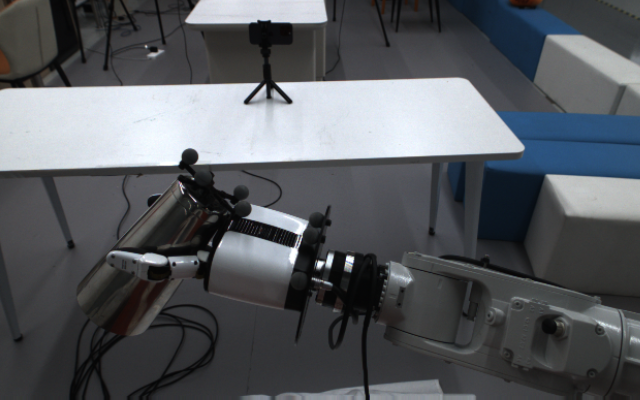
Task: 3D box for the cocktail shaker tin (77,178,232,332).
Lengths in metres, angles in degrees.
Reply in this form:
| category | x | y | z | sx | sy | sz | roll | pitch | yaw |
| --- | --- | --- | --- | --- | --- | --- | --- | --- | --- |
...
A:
| category | x | y | z | sx | sy | sz | roll | pitch | yaw |
| --- | --- | --- | --- | --- | --- | --- | --- | --- | --- |
| cocktail shaker tin | -0.177 | 0.054 | 0.536 | 0.093 | 0.170 | 0.093 | 41 | 12 | -11 |
